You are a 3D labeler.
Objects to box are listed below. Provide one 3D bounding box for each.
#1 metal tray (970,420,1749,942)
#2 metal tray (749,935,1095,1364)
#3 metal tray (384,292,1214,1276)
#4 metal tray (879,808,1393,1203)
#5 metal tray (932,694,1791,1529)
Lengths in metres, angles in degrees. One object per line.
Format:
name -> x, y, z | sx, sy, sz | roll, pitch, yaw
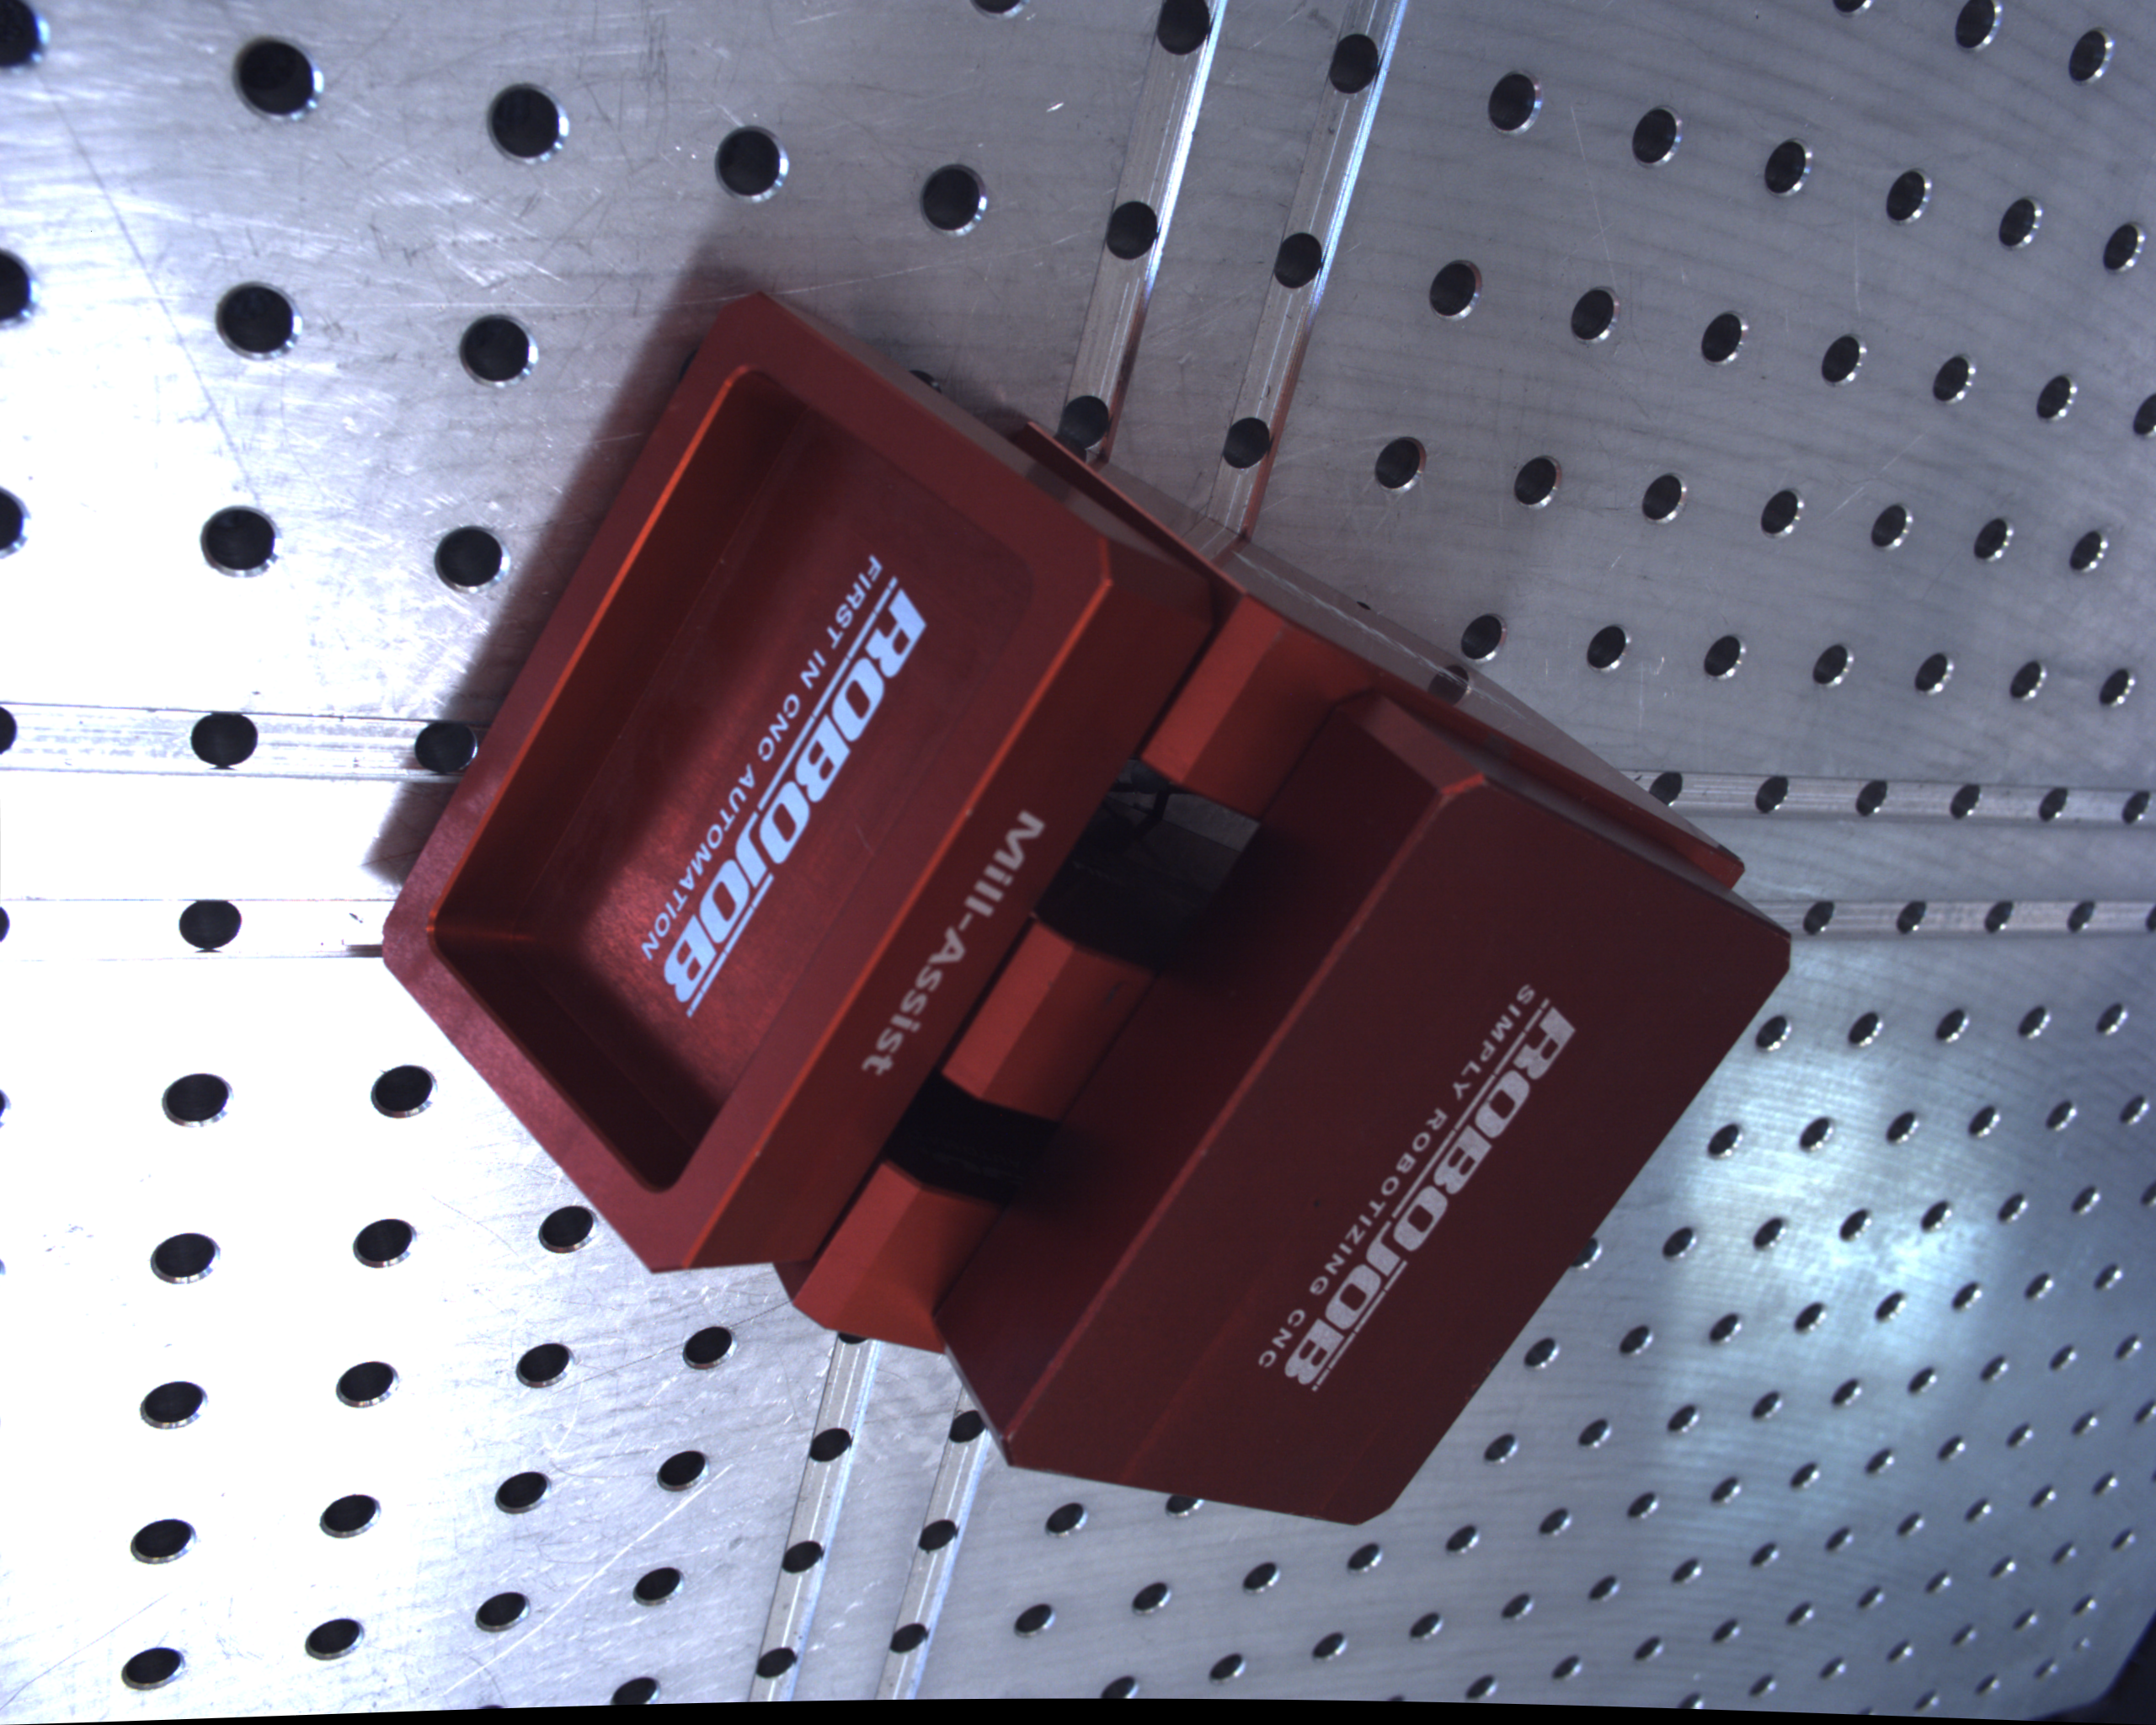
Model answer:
metal tray -> 0.050, -0.027, 0.378 | 0.131, 0.090, 0.030 | 22, 107, -36
metal tray -> -0.007, 0.060, 0.401 | 0.131, 0.090, 0.030 | 23, 106, -37
metal tray -> -0.049, -0.012, 0.331 | 0.030, 0.090, 0.129 | 12, 114, -57
metal tray -> 0.018, 0.022, 0.391 | 0.131, 0.090, 0.030 | 21, 106, -37
metal tray -> 0.047, 0.046, 0.344 | 0.090, 0.030, 0.129 | 23, 106, -36
